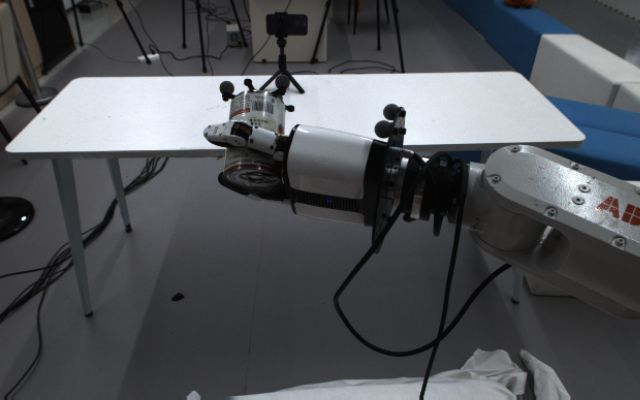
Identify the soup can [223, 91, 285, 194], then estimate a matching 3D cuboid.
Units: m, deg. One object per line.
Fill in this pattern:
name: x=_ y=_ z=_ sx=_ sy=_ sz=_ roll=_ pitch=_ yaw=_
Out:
soup can: x=-0.073 y=-0.067 z=0.560 sx=0.067 sy=0.067 sz=0.101 roll=1 pitch=68 yaw=-1
